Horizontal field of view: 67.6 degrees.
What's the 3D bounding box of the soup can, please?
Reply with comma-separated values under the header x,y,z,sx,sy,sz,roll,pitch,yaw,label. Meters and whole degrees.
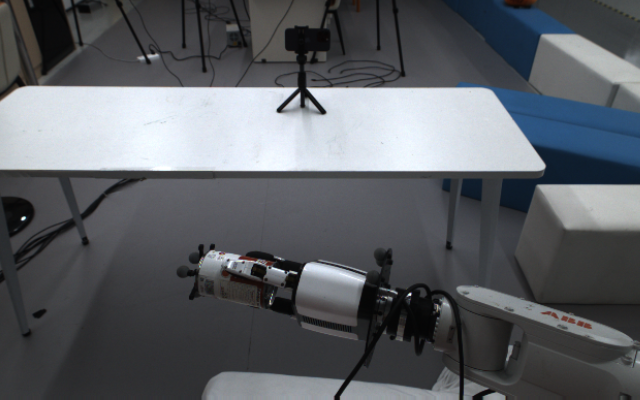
x,y,z,sx,sy,sz,roll,pitch,yaw,label
-0.112,0.112,0.682,0.101,0.067,0.067,9,35,10,soup can
